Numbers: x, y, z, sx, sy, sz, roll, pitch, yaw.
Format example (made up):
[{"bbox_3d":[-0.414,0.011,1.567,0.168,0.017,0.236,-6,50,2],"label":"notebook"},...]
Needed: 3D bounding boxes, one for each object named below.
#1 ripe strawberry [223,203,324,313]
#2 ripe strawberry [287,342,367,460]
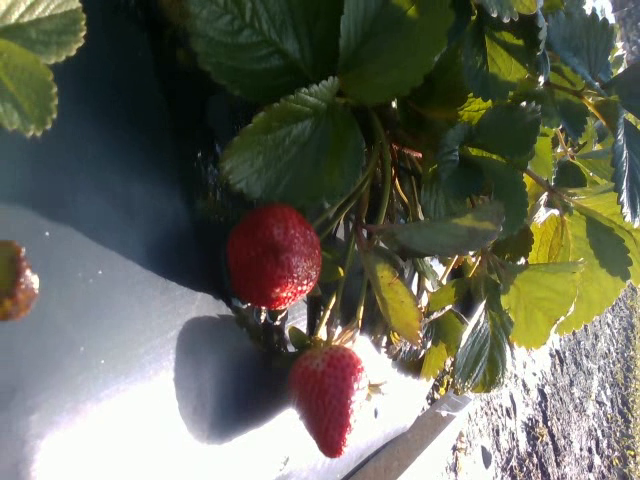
[{"bbox_3d":[-0.017,0.008,0.242,0.039,0.048,0.054,25,-4,1],"label":"ripe strawberry"},{"bbox_3d":[0.007,0.071,0.263,0.038,0.053,0.043,-9,-39,1],"label":"ripe strawberry"}]
